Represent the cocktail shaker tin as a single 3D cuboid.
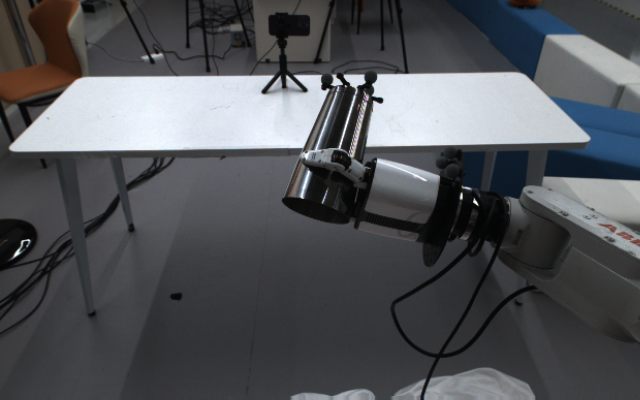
[{"bbox_3d":[0.018,-0.064,0.646,0.093,0.093,0.170,13,73,15],"label":"cocktail shaker tin"}]
